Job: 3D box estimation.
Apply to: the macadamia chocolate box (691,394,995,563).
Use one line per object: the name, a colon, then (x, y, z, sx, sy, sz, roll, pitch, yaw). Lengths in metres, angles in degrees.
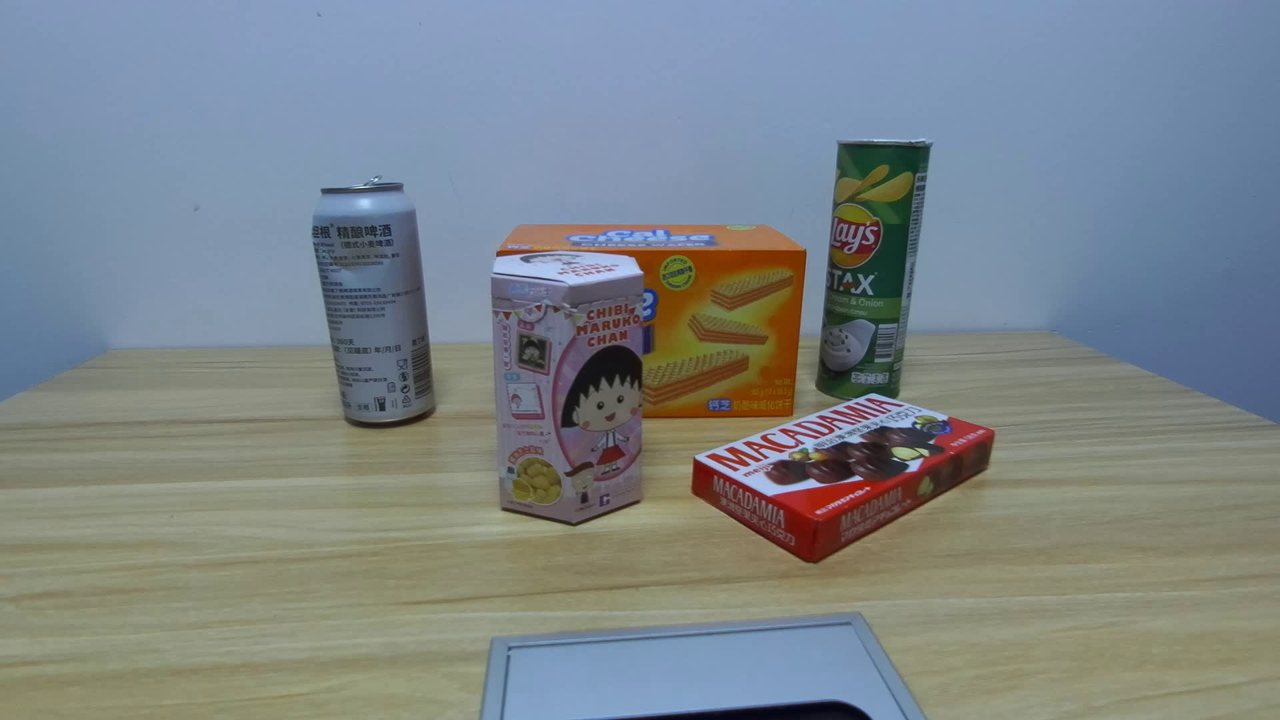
macadamia chocolate box: (0.127, 0.063, 0.431, 0.179, 0.027, 0.095, -13, 21, -36)

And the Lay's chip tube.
Lay's chip tube: (0.185, -0.071, 0.563, 0.071, 0.202, 0.071, 1, 17, 0)

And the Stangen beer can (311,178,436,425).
Stangen beer can: (-0.190, -0.041, 0.507, 0.070, 0.173, 0.069, -6, 17, -19)

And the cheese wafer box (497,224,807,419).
cheese wafer box: (0.007, -0.037, 0.573, 0.222, 0.129, 0.148, 0, 18, -3)

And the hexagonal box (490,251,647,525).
hexagonal box: (-0.039, 0.013, 0.399, 0.091, 0.136, 0.083, -13, 22, -36)
